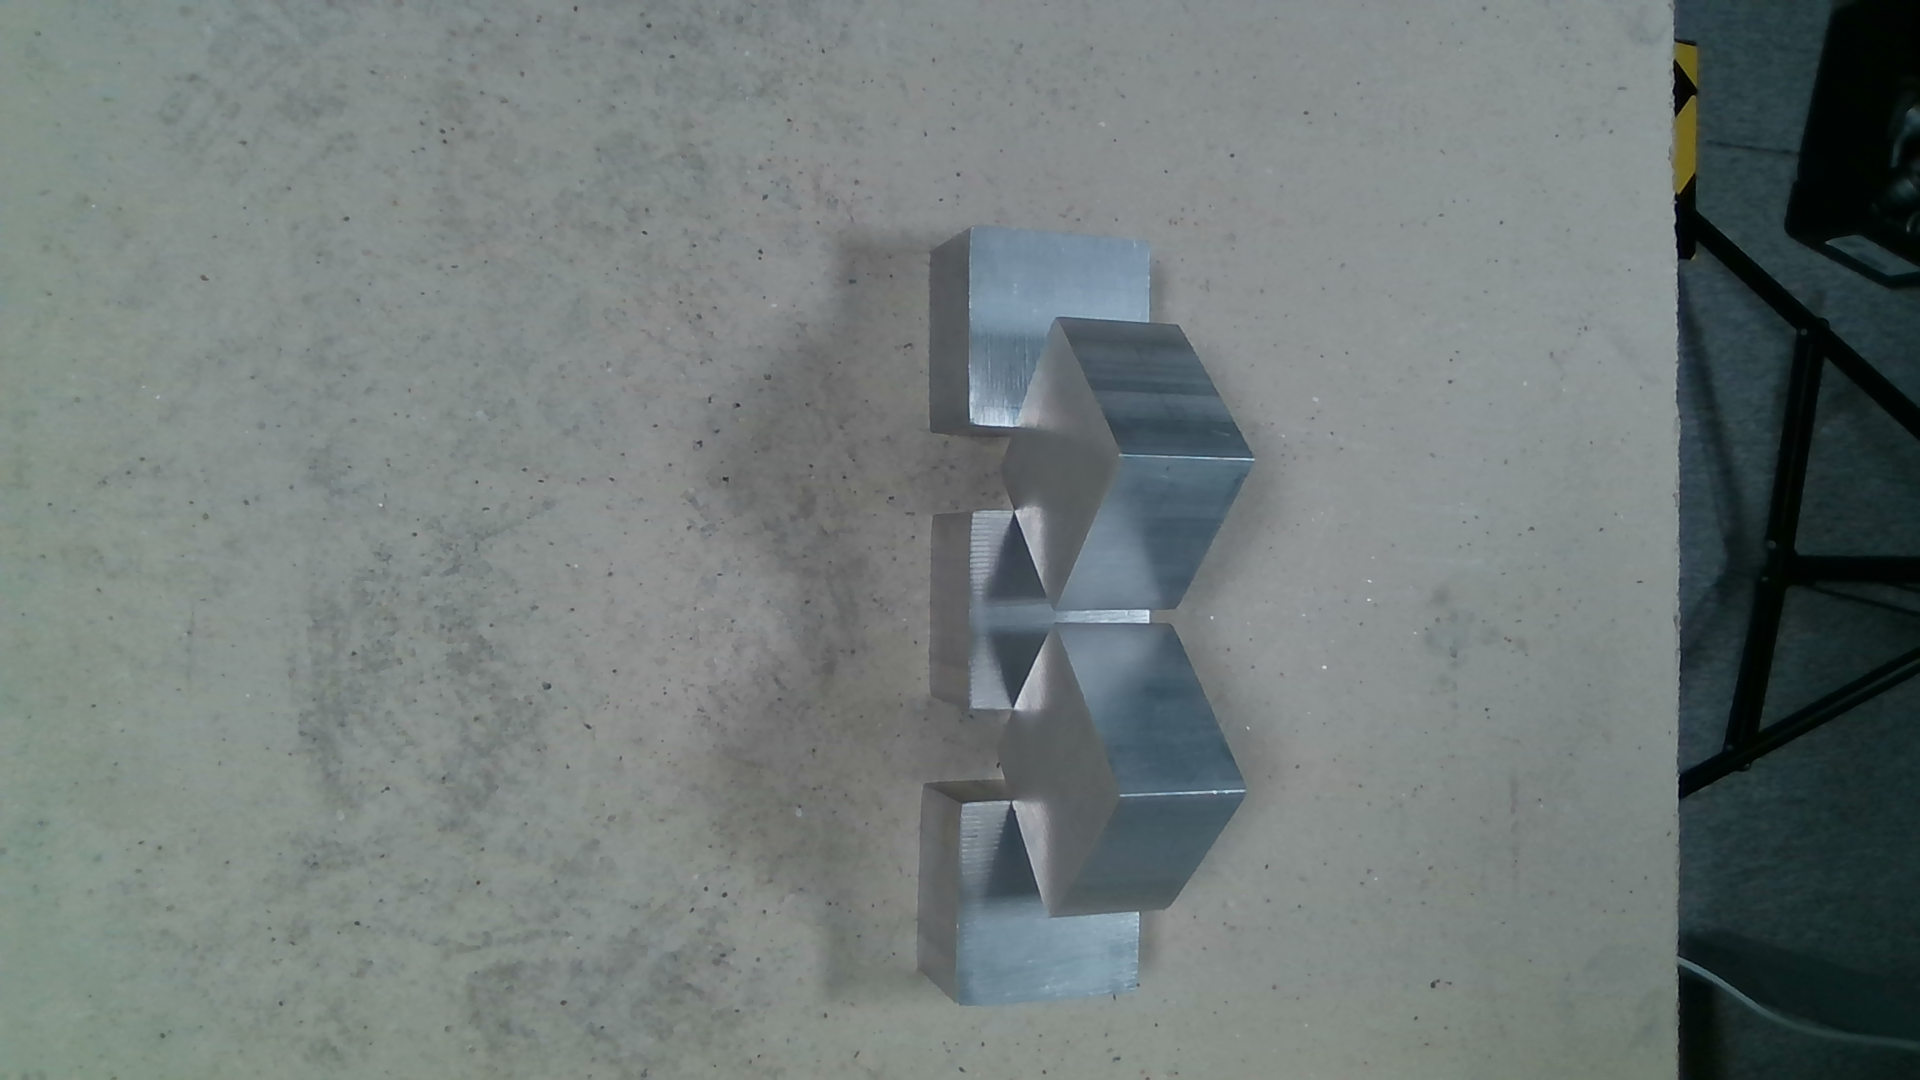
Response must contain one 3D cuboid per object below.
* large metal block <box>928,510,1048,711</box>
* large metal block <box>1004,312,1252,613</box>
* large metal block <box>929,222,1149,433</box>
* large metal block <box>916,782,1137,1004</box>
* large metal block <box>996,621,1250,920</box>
[{"bbox_3d":[0.033,0.029,0.585,0.080,0.050,0.080,1,90,-20],"label":"large metal block"},{"bbox_3d":[0.059,-0.029,0.525,0.050,0.080,0.080,-1,135,-20],"label":"large metal block"},{"bbox_3d":[0.033,-0.086,0.585,0.080,0.050,0.080,0,90,-20],"label":"large metal block"},{"bbox_3d":[0.028,0.145,0.584,0.080,0.050,0.080,1,90,-20],"label":"large metal block"},{"bbox_3d":[0.058,0.087,0.528,0.050,0.080,0.080,1,45,-21],"label":"large metal block"}]
